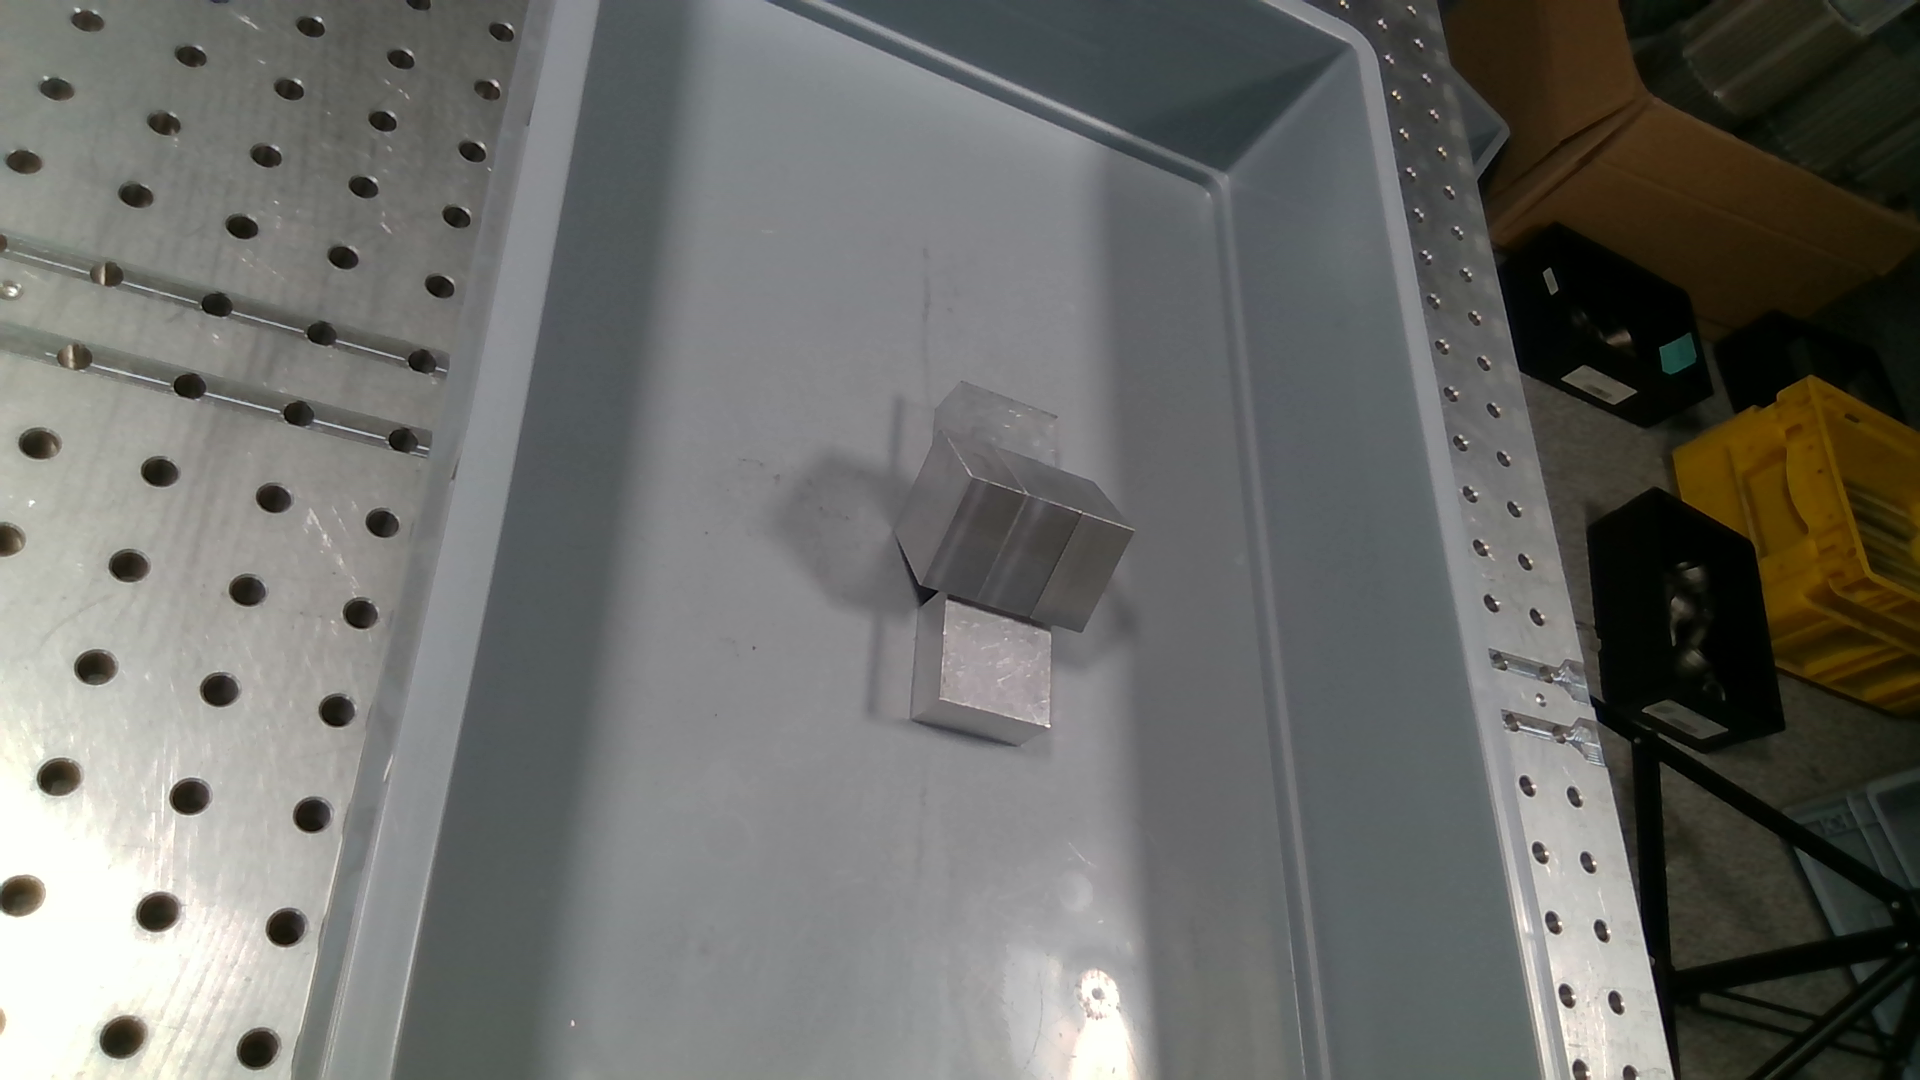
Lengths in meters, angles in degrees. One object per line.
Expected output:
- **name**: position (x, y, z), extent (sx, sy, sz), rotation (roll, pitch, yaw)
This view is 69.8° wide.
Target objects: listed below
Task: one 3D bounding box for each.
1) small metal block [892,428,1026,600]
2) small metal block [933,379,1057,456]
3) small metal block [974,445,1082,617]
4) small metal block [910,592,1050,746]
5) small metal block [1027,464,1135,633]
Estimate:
- **small metal block**: position (-0.002, -0.012, 0.561), extent (0.025, 0.050, 0.050), rotation (17, 21, -24)
- **small metal block**: position (0.015, -0.037, 0.614), extent (0.050, 0.025, 0.050), rotation (18, 57, -23)
- **small metal block**: position (0.020, -0.004, 0.570), extent (0.025, 0.050, 0.050), rotation (17, 21, -24)
- **small metal block**: position (0.009, 0.052, 0.563), extent (0.050, 0.025, 0.050), rotation (17, 57, -23)
- **small metal block**: position (0.043, 0.003, 0.580), extent (0.025, 0.050, 0.050), rotation (18, 21, -23)
